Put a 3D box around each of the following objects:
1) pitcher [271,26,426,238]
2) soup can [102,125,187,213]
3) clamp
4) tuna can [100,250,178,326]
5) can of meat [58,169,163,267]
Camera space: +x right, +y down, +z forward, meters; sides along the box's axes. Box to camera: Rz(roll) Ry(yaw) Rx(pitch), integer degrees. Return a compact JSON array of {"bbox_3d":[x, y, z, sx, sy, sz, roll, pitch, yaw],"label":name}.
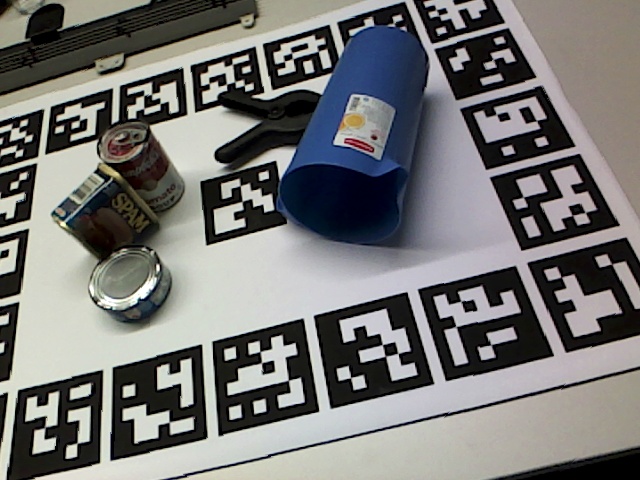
[{"bbox_3d":[0.044,-0.130,0.718,0.190,0.132,0.243,-12,46,34],"label":"pitcher"},{"bbox_3d":[-0.220,-0.088,0.786,0.068,0.101,0.068,-8,59,13],"label":"soup can"},{"bbox_3d":[-0.072,-0.157,0.840,0.165,0.036,0.122,-13,52,3],"label":"clamp"},{"bbox_3d":[-0.212,0.058,0.731,0.086,0.033,0.086,-7,59,11],"label":"tuna can"},{"bbox_3d":[-0.253,-0.022,0.748,0.058,0.101,0.083,35,76,29],"label":"can of meat"}]
